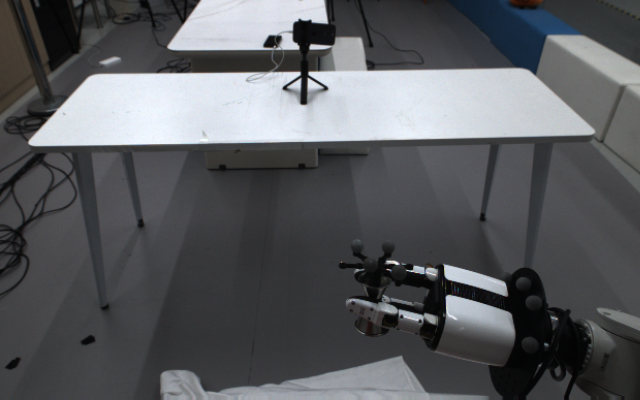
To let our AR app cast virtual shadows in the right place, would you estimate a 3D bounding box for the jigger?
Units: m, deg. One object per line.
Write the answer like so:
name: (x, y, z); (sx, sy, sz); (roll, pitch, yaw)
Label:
jigger: (0.066, 0.126, 0.604); (0.043, 0.071, 0.043); (1, 20, 0)
